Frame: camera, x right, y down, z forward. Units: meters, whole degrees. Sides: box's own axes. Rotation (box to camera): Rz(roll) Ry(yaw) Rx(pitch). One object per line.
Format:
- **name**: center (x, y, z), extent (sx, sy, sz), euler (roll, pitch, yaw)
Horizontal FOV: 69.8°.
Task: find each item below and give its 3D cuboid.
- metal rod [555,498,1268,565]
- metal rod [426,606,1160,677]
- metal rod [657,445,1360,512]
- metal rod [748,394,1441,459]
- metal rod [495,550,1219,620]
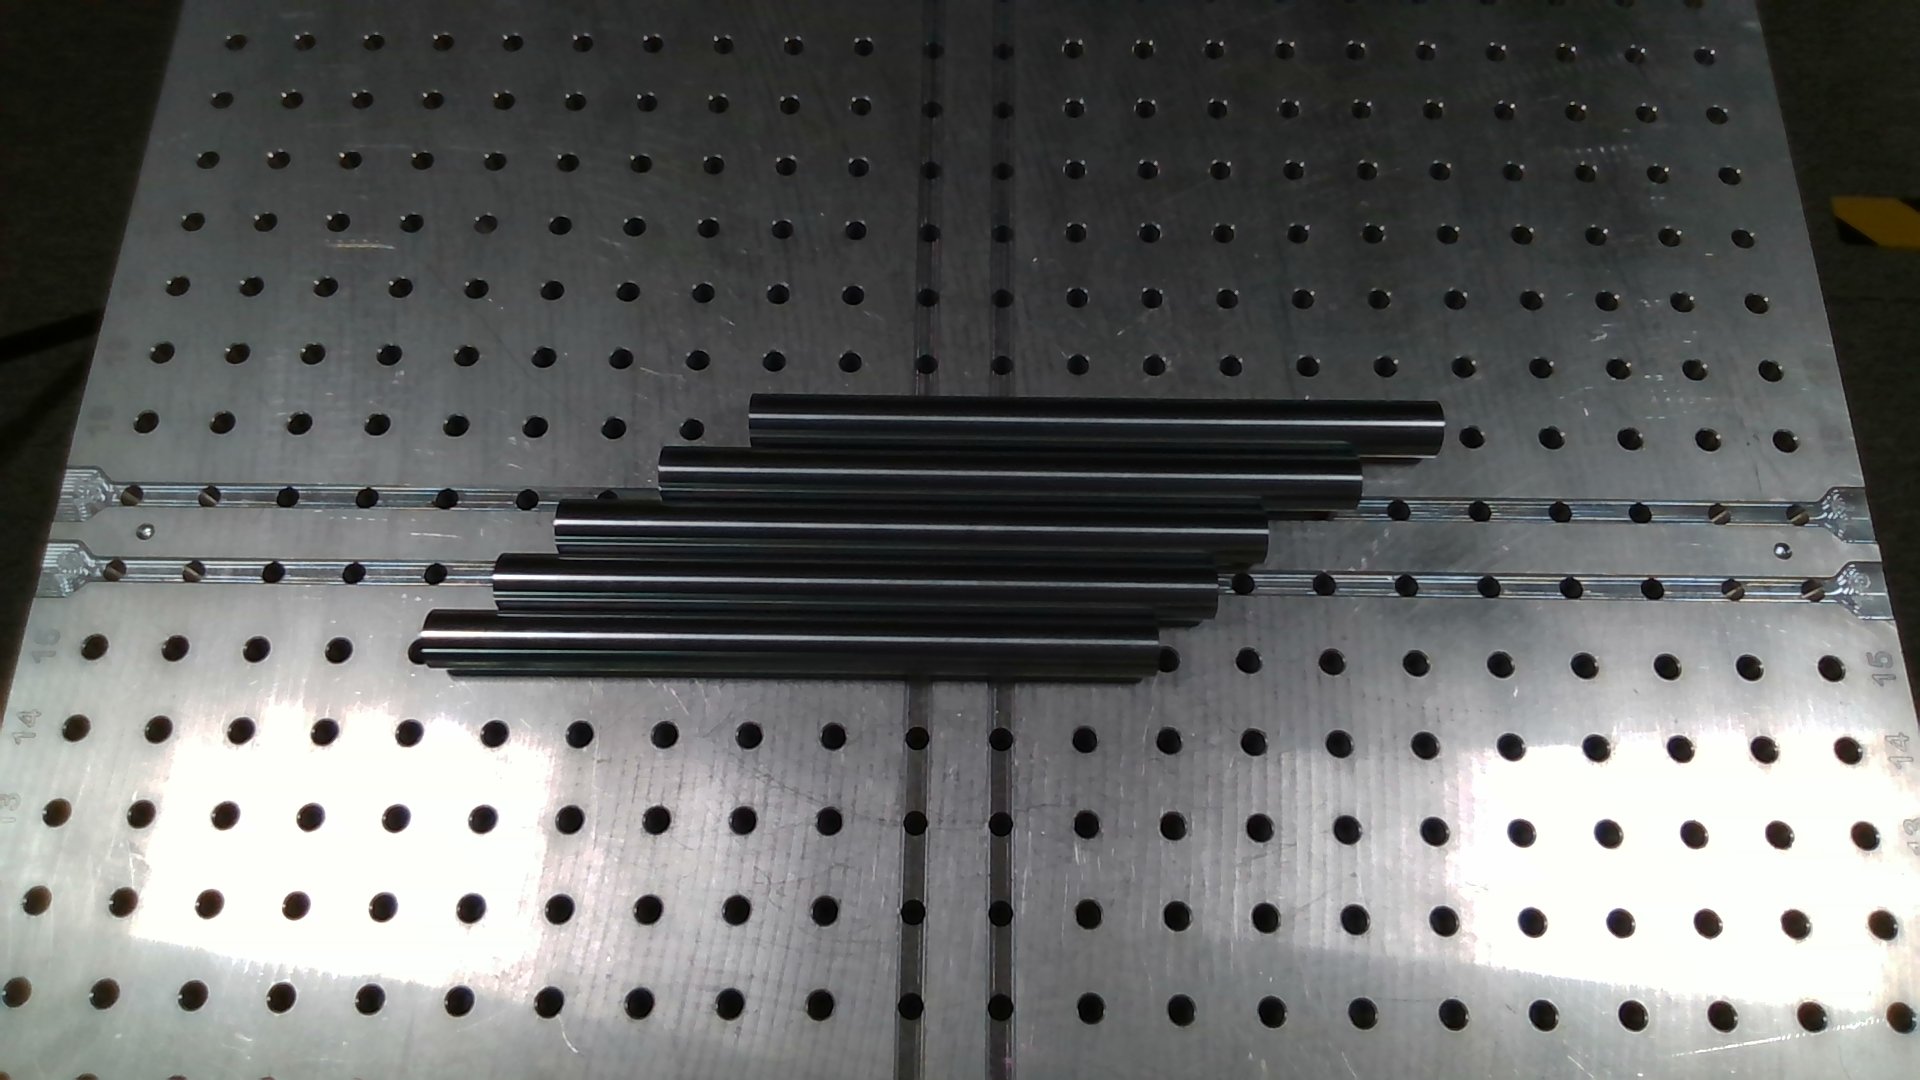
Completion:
- **metal rod**: center (-0.020, -0.004, 0.591), extent (0.300, 0.025, 0.025), euler (1, 70, 0)
- **metal rod**: center (-0.068, 0.043, 0.575), extent (0.300, 0.025, 0.025), euler (1, 70, 0)
- **metal rod**: center (0.021, -0.027, 0.599), extent (0.300, 0.025, 0.025), euler (1, 70, 0)
- **metal rod**: center (0.058, -0.051, 0.609), extent (0.300, 0.025, 0.025), euler (1, 70, 0)
- **metal rod**: center (-0.043, 0.019, 0.583), extent (0.300, 0.025, 0.025), euler (1, 70, 0)
